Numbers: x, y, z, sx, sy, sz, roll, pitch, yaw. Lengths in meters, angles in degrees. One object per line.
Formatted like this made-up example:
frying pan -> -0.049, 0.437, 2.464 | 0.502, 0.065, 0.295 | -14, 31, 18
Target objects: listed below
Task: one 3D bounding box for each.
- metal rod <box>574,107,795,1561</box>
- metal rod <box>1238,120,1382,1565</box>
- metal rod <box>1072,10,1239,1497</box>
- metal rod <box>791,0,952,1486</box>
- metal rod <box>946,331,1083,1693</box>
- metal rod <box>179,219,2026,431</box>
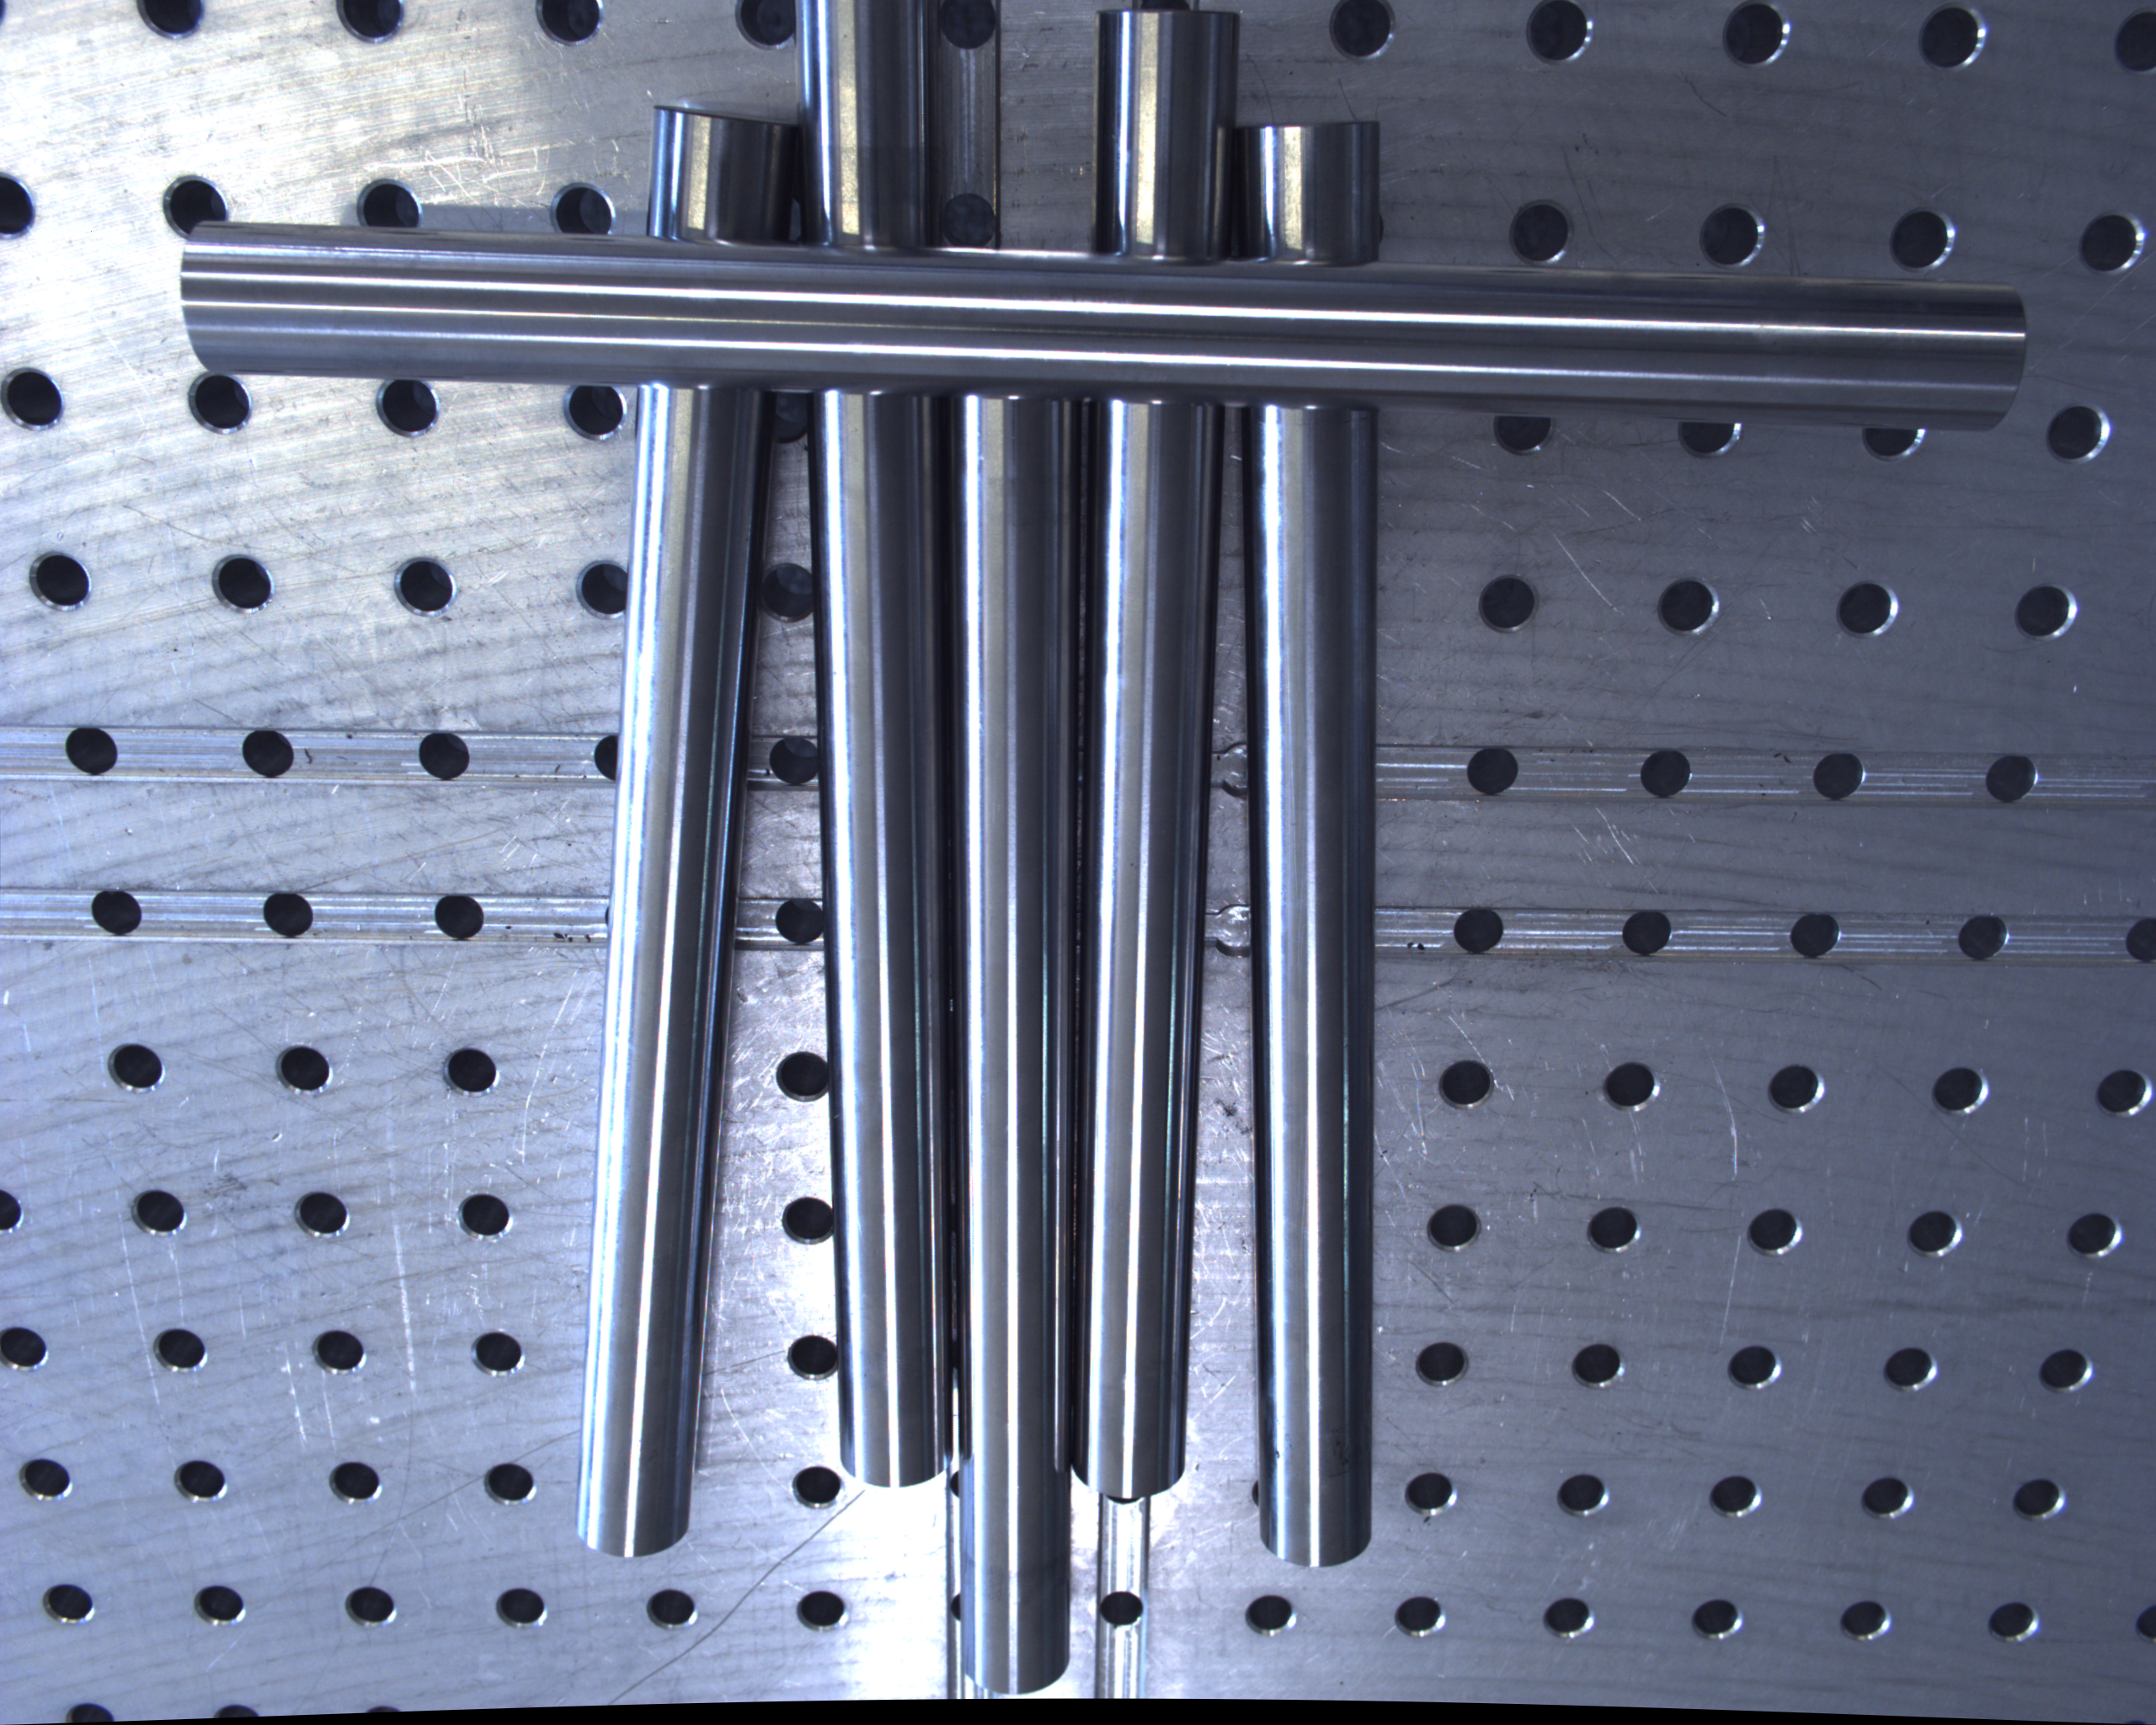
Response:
metal rod -> -0.081, 0.009, 0.415 | 0.025, 0.025, 0.298 | 7, 110, -3
metal rod -> 0.047, 0.010, 0.418 | 0.025, 0.025, 0.298 | -2, 110, 1
metal rod -> 0.013, -0.007, 0.412 | 0.025, 0.025, 0.298 | 1, 110, 0
metal rod -> -0.038, -0.010, 0.410 | 0.025, 0.025, 0.298 | 1, 110, 0
metal rod -> -0.013, 0.043, 0.429 | 0.025, 0.025, 0.298 | 1, 111, 0
metal rod -> 0.005, -0.091, 0.353 | 0.302, 0.025, 0.025 | 2, 110, -1
